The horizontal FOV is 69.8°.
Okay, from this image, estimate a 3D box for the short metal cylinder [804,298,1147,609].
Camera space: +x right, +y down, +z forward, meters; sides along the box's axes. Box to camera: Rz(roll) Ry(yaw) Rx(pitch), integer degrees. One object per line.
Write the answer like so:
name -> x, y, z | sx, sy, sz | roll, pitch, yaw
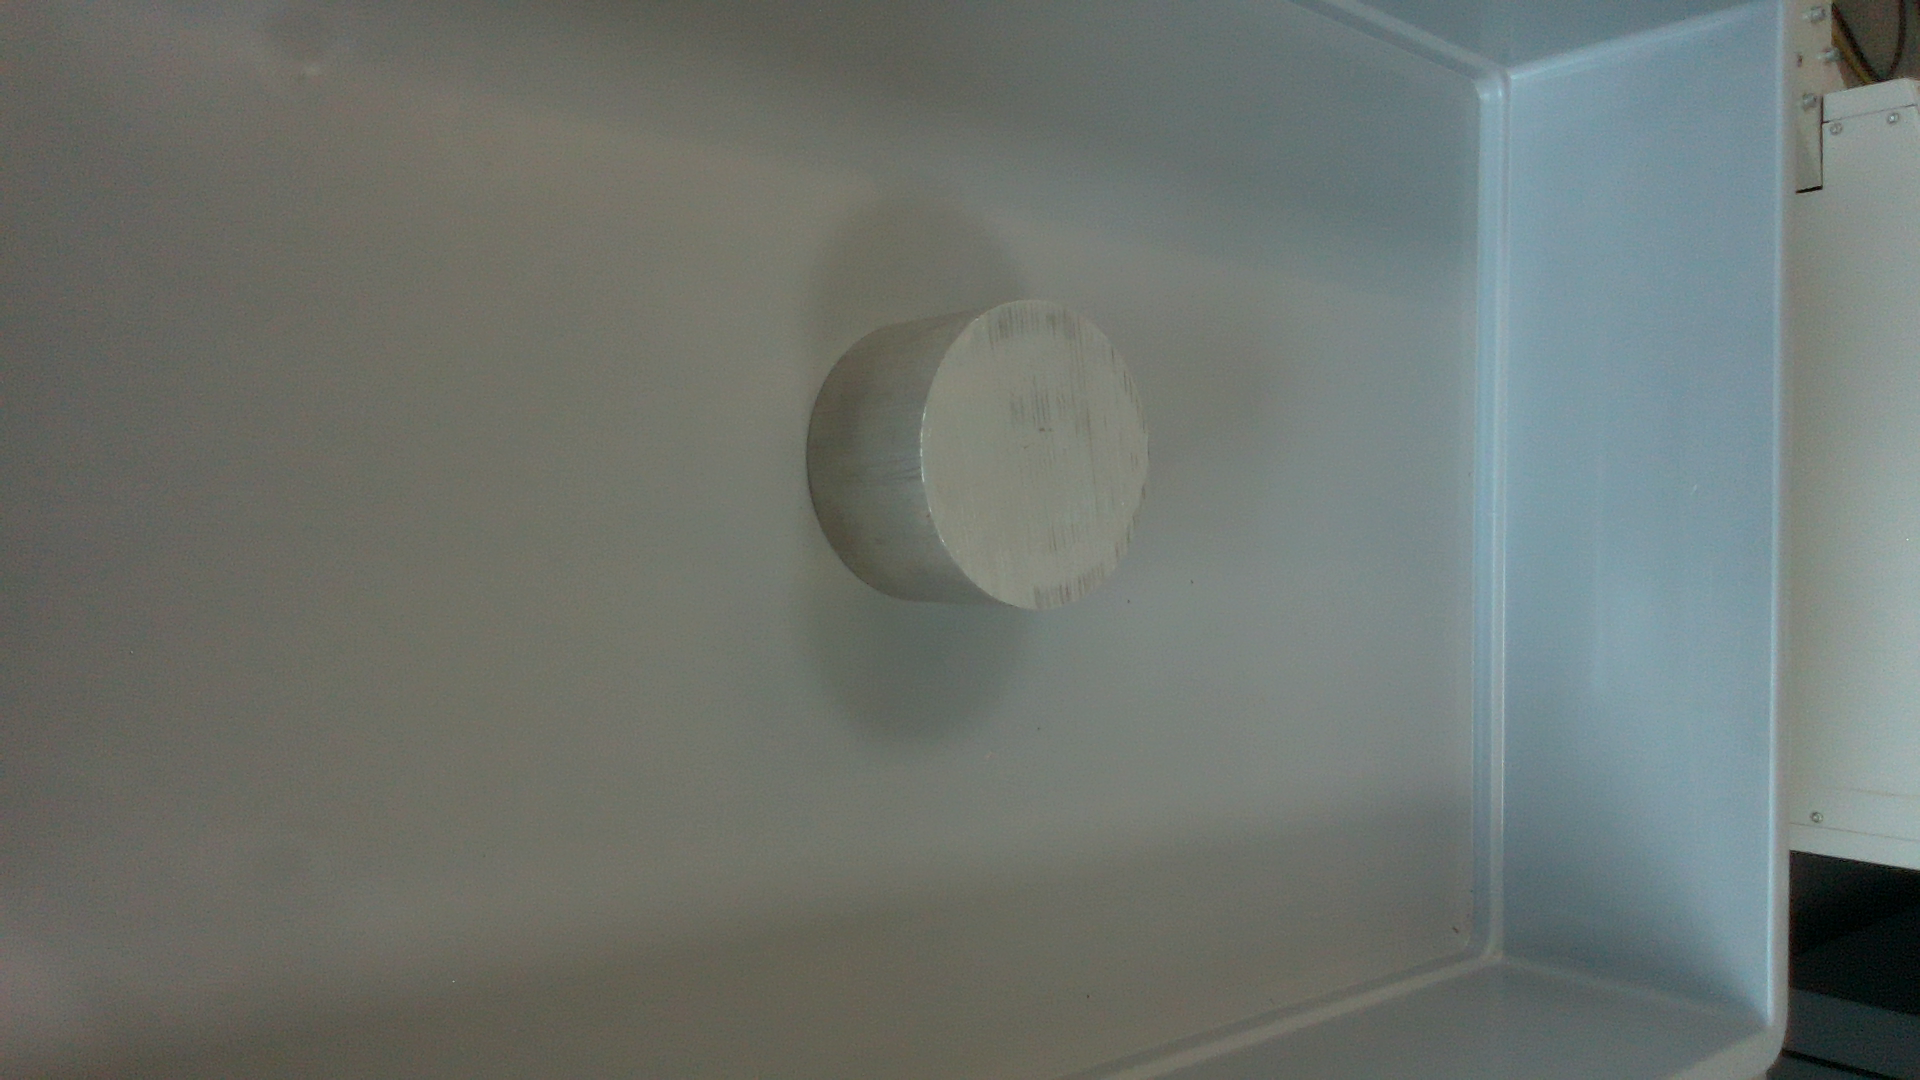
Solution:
short metal cylinder -> 0.005, -0.022, 0.374 | 0.080, 0.050, 0.080 | 0, 90, -40
